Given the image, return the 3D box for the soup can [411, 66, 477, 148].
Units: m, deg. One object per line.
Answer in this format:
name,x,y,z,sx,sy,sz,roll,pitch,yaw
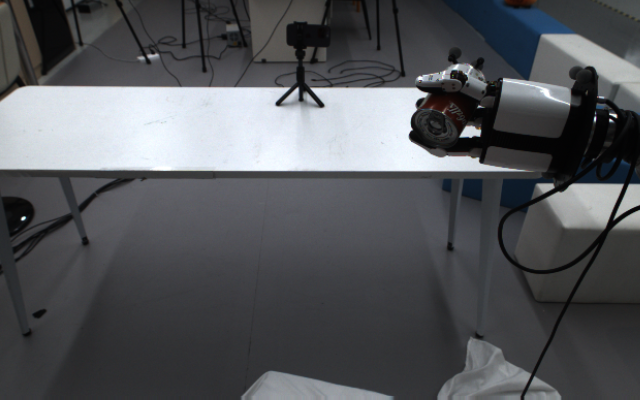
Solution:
soup can,0.178,-0.130,0.654,0.067,0.067,0.101,22,61,26
